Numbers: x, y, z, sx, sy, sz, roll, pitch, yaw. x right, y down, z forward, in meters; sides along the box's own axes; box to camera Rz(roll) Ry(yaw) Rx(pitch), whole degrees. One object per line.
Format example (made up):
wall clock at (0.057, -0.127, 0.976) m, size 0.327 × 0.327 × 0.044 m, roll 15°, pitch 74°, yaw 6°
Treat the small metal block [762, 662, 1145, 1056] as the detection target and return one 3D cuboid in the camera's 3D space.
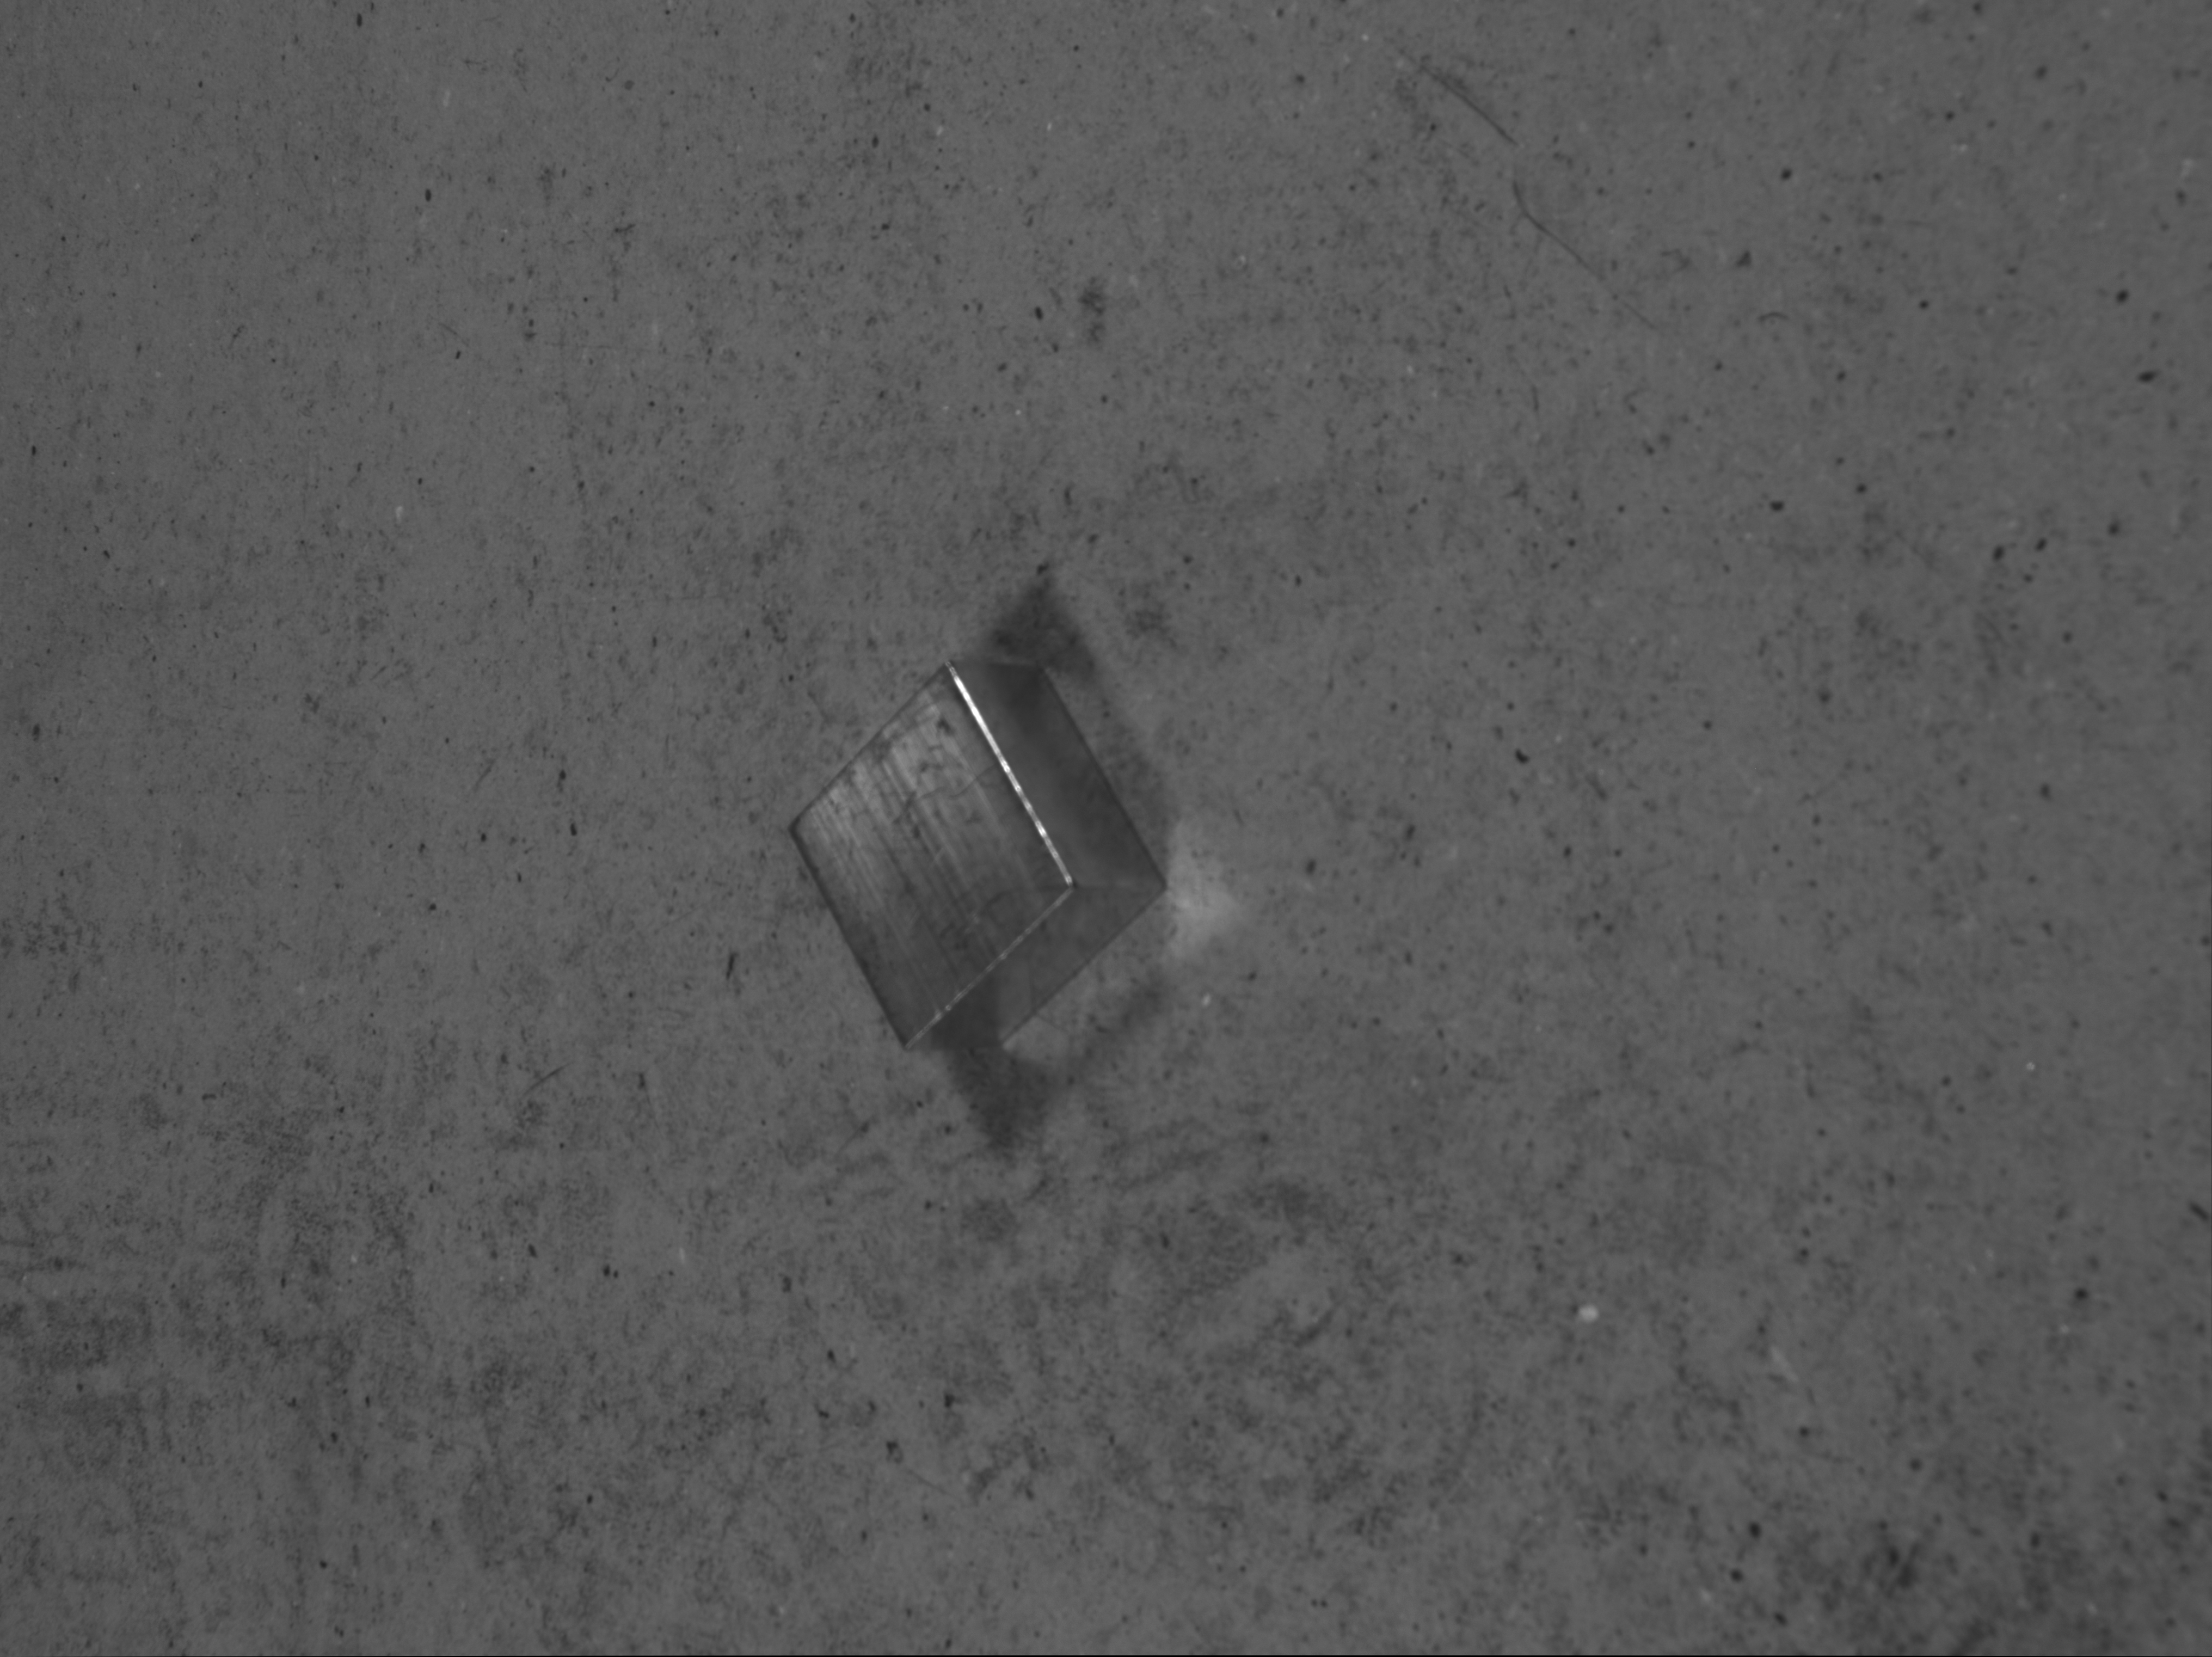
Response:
small metal block at (-0.028, 0.006, 0.660) m, size 0.050 × 0.025 × 0.050 m, roll -44°, pitch 64°, yaw 30°
